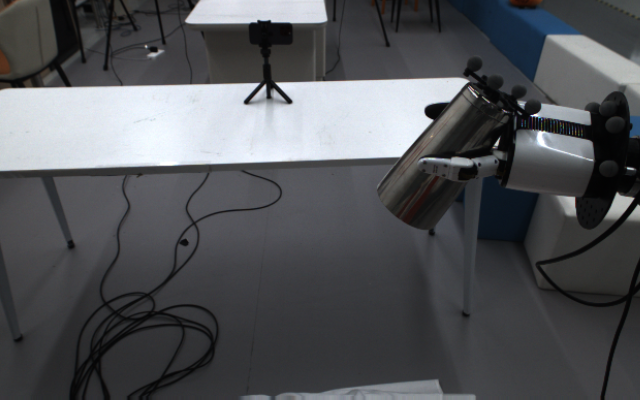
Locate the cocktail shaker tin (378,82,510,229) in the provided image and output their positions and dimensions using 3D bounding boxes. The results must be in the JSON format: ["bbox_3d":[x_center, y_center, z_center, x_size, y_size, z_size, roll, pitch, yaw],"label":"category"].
[{"bbox_3d":[0.156,-0.059,0.596,0.093,0.170,0.093,26,32,-17],"label":"cocktail shaker tin"}]
